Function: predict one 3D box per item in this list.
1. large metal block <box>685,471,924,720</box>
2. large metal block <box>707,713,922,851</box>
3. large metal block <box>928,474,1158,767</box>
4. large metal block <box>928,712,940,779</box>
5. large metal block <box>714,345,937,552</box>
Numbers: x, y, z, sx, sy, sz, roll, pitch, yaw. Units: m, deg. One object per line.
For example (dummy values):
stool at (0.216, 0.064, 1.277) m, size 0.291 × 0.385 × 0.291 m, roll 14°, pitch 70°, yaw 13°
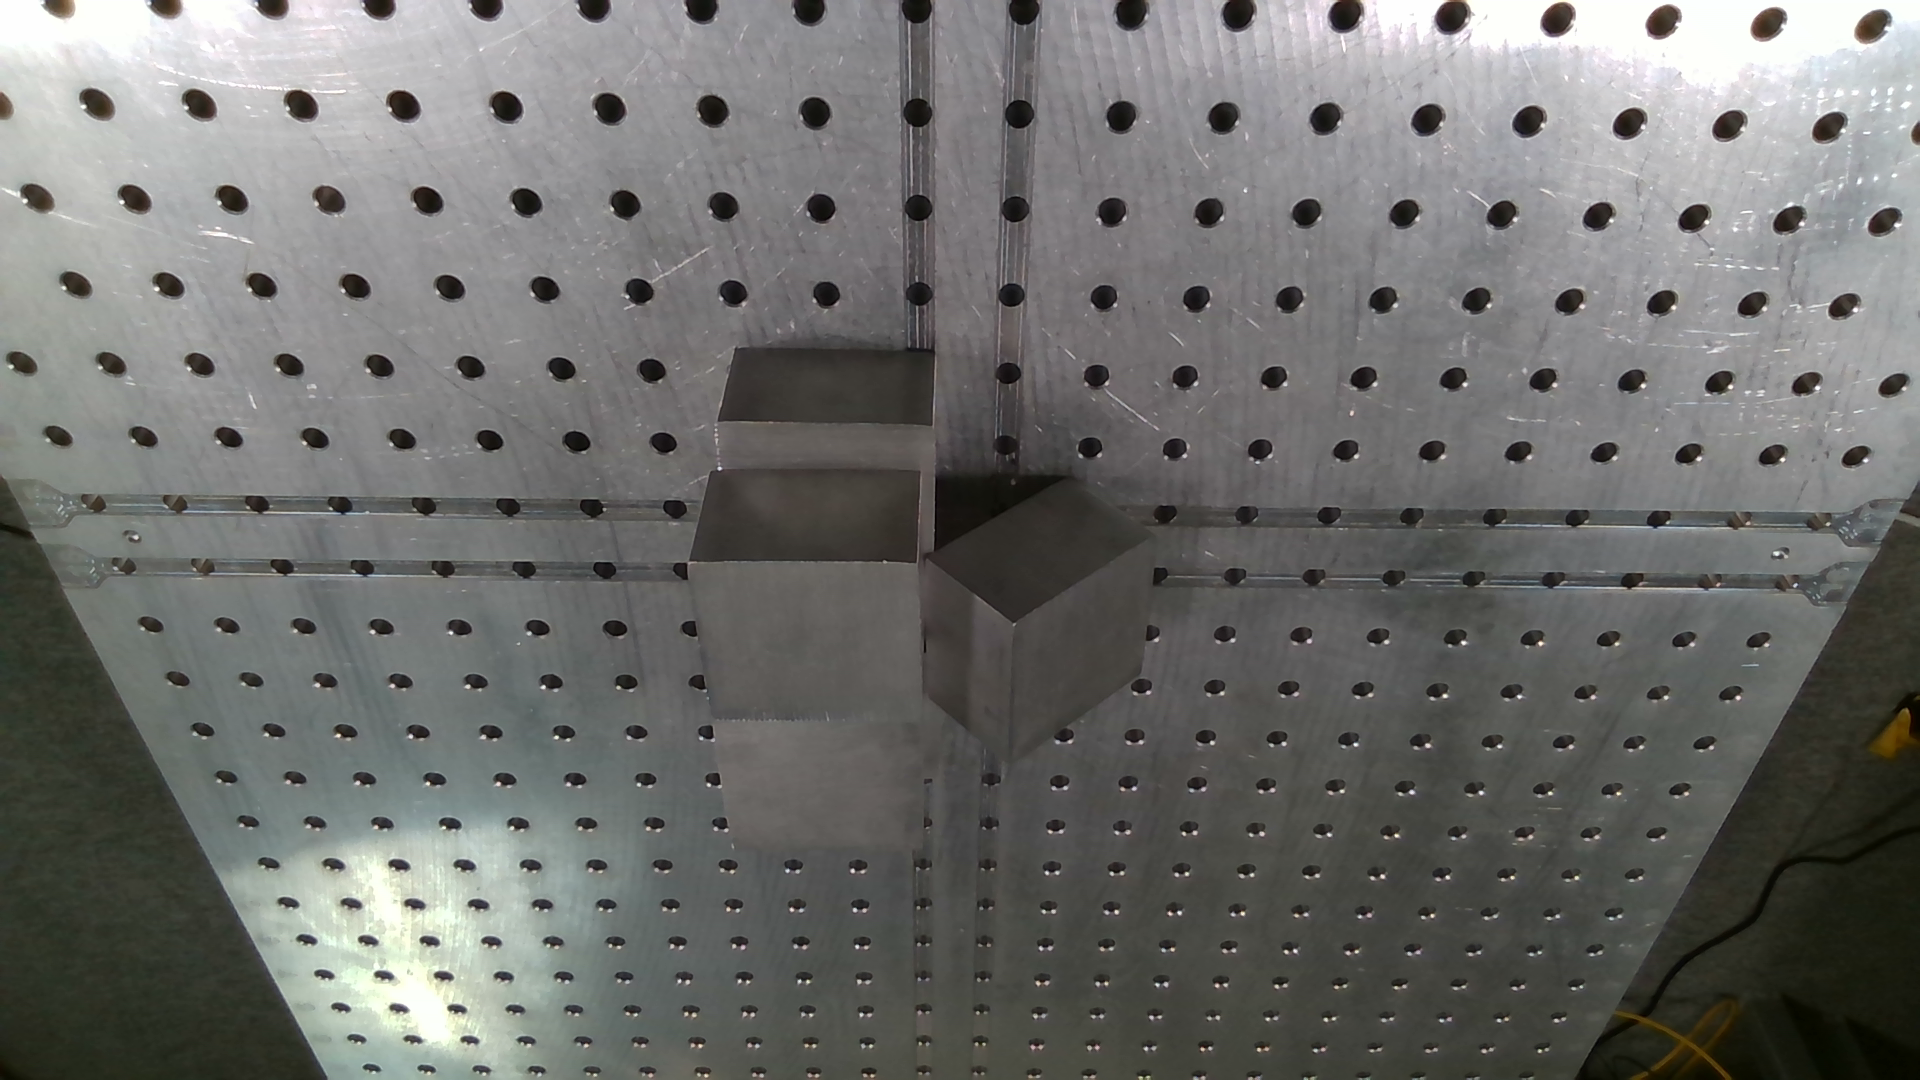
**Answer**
large metal block at (-0.054, 0.021, 0.515) m, size 0.080 × 0.050 × 0.080 m, roll 0°, pitch 130°, yaw 0°
large metal block at (-0.056, 0.083, 0.568) m, size 0.080 × 0.050 × 0.080 m, roll 0°, pitch 130°, yaw 0°
large metal block at (0.032, 0.032, 0.566) m, size 0.080 × 0.050 × 0.080 m, roll -30°, pitch 139°, yaw -31°
large metal block at (-0.050, 0.062, 0.617) m, size 0.080 × 0.050 × 0.080 m, roll -1°, pitch 130°, yaw 1°
large metal block at (-0.050, -0.029, 0.543) m, size 0.080 × 0.050 × 0.080 m, roll 1°, pitch 130°, yaw -1°
